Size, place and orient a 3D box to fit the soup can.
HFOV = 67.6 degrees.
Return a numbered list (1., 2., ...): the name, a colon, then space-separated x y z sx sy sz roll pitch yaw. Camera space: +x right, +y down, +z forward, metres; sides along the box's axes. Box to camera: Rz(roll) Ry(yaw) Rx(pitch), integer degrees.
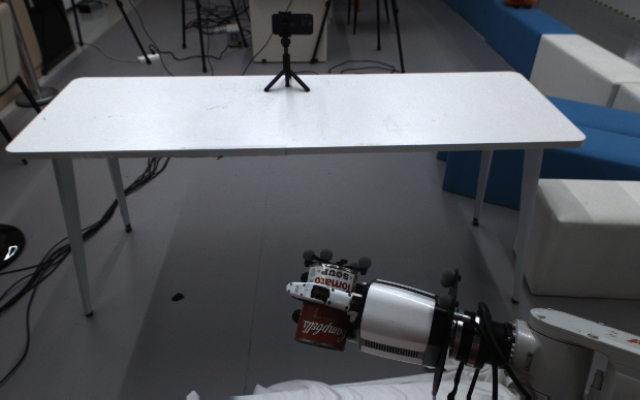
1. soup can: 0.010 0.141 0.637 0.067 0.067 0.101 9 71 9
